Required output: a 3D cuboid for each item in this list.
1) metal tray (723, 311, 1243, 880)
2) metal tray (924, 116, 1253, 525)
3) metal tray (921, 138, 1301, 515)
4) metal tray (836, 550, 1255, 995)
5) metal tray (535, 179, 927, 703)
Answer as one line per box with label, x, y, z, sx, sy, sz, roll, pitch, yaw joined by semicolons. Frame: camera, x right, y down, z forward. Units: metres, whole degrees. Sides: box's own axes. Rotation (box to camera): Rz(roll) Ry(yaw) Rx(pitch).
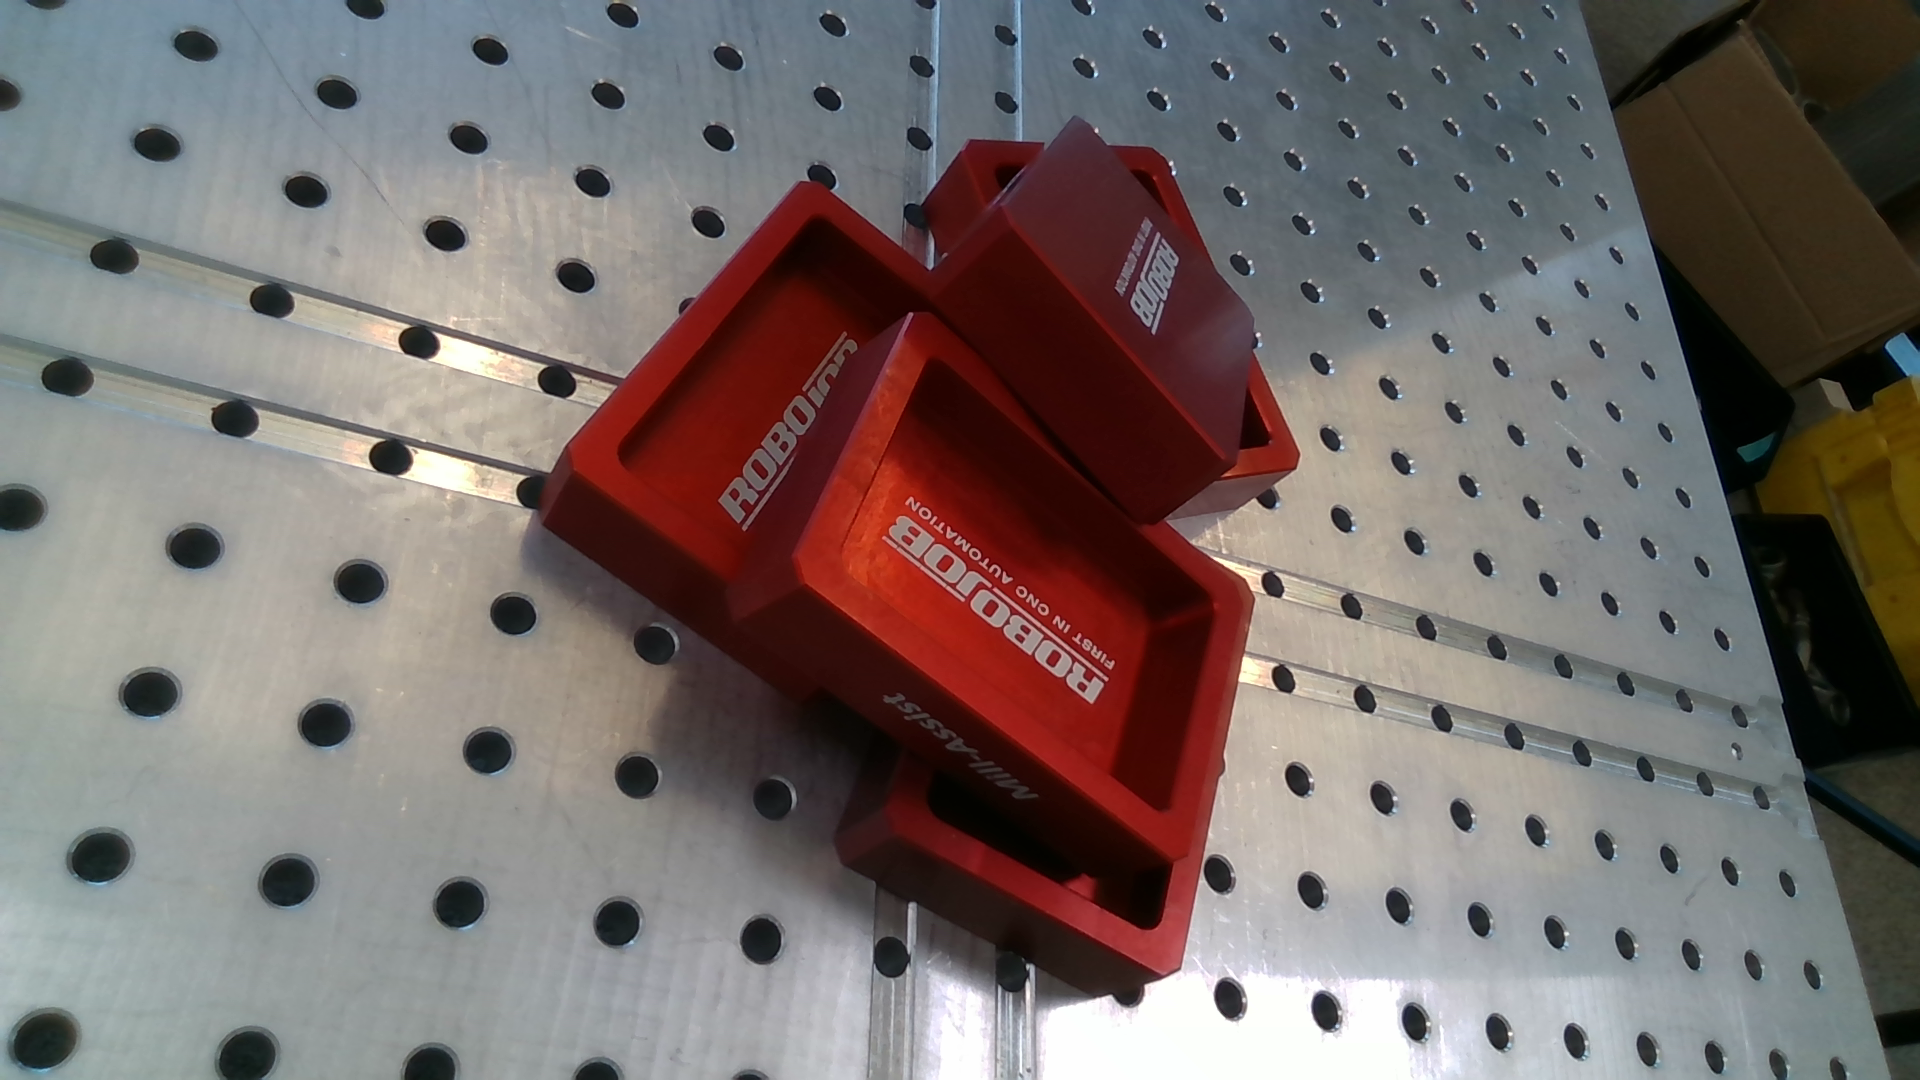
metal tray;0.013;0.015;0.352;0.130;0.030;0.090;39;50;-23
metal tray;0.044;-0.070;0.405;0.090;0.030;0.130;46;28;-11
metal tray;0.050;-0.071;0.462;0.090;0.030;0.130;-9;70;-35
metal tray;0.029;0.047;0.385;0.090;0.030;0.130;31;52;-14
metal tray;-0.043;-0.031;0.383;0.090;0.030;0.130;37;52;-10
